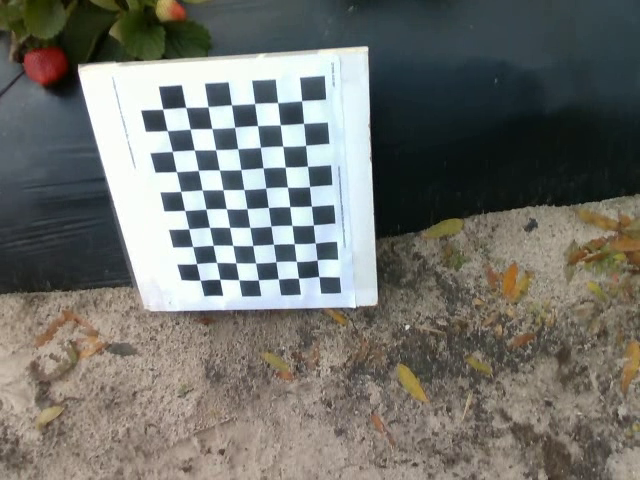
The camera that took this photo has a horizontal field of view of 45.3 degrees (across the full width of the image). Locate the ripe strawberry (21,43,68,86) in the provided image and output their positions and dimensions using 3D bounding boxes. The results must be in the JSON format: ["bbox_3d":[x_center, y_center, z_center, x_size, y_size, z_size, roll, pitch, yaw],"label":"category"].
[{"bbox_3d":[-0.229,-0.150,0.650,0.036,0.046,0.037,13,-48,-45],"label":"ripe strawberry"}]
